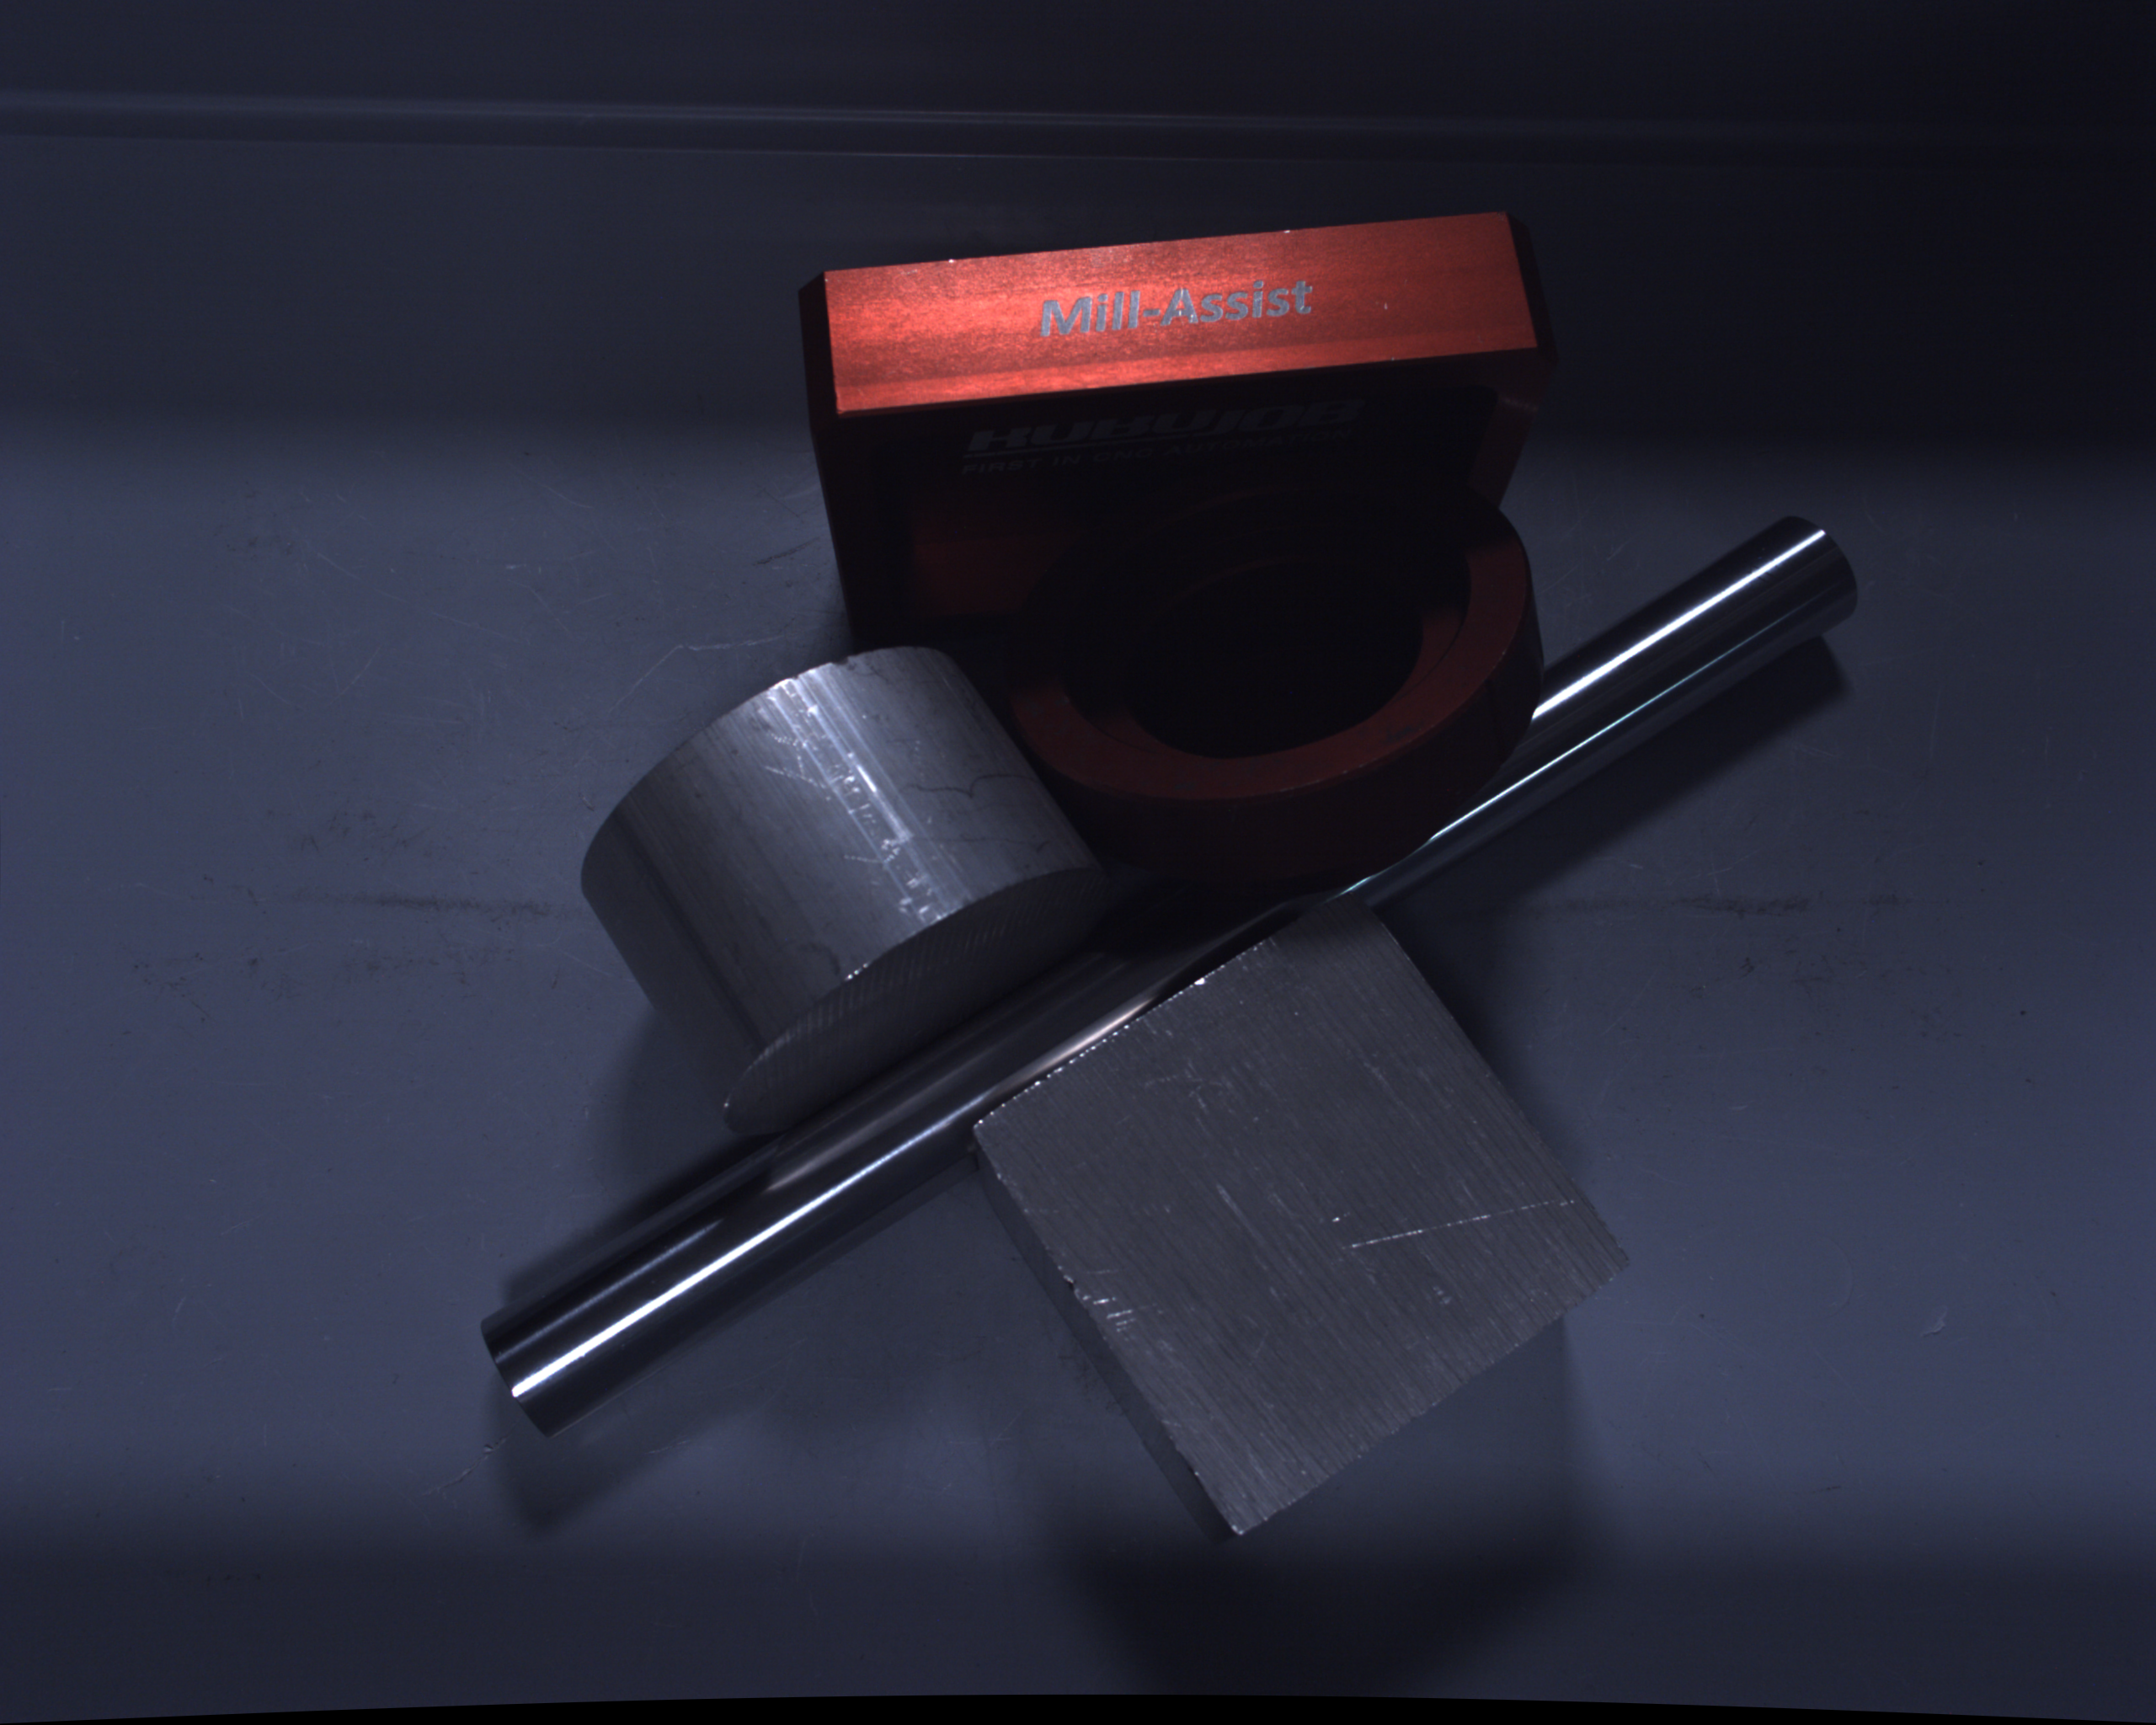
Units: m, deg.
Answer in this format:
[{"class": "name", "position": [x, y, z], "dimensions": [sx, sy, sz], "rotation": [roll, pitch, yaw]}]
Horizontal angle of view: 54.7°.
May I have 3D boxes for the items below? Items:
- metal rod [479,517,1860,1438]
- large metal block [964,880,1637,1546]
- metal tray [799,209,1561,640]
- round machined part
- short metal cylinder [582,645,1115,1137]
[{"class": "metal rod", "position": [0.026, 0.016, 0.403], "dimensions": [0.301, 0.025, 0.025], "rotation": [-31, 73, -11]}, {"class": "large metal block", "position": [0.036, 0.063, 0.371], "dimensions": [0.080, 0.050, 0.080], "rotation": [-31, 73, -11]}, {"class": "metal tray", "position": [0.017, -0.081, 0.402], "dimensions": [0.131, 0.090, 0.030], "rotation": [-6, 71, -3]}, {"class": "round machined part", "position": [0.039, -0.032, 0.396], "dimensions": [0.098, 0.042, 0.098], "rotation": [-10, 44, 10]}, {"class": "short metal cylinder", "position": [-0.041, 0.006, 0.376], "dimensions": [0.080, 0.080, 0.050], "rotation": [-32, 74, -11]}]
